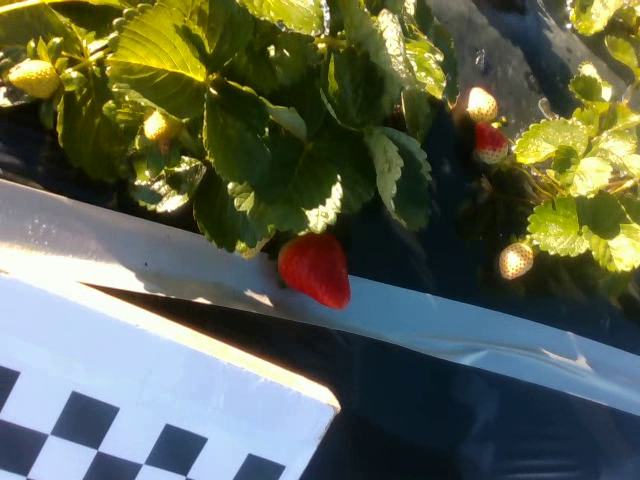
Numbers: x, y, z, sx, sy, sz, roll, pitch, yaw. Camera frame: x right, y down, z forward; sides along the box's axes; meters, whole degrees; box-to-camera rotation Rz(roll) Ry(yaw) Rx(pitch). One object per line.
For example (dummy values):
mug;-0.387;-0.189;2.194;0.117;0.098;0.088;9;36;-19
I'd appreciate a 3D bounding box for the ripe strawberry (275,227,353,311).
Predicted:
ripe strawberry;-0.002;0.018;0.355;0.045;0.064;0.049;-36;-38;0
